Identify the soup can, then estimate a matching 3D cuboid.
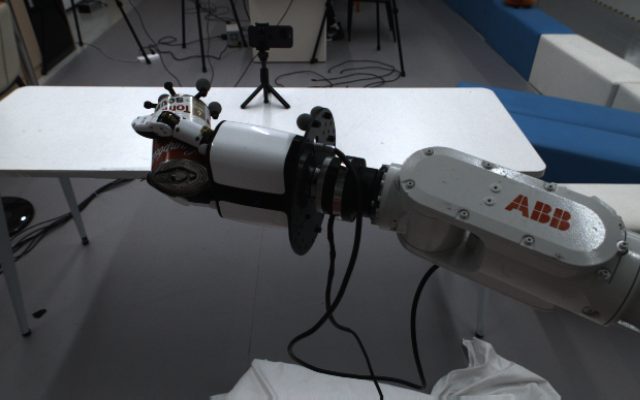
[{"bbox_3d":[-0.159,-0.063,0.563,0.067,0.067,0.101,-5,57,-10],"label":"soup can"}]
